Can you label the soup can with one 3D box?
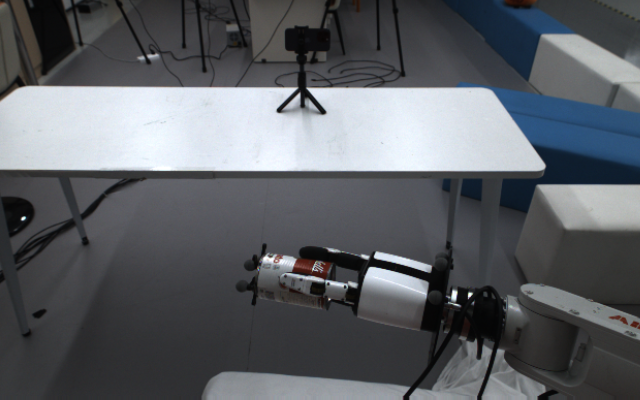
[{"bbox_3d":[-0.031,0.115,0.685,0.101,0.067,0.067,7,35,11],"label":"soup can"}]
